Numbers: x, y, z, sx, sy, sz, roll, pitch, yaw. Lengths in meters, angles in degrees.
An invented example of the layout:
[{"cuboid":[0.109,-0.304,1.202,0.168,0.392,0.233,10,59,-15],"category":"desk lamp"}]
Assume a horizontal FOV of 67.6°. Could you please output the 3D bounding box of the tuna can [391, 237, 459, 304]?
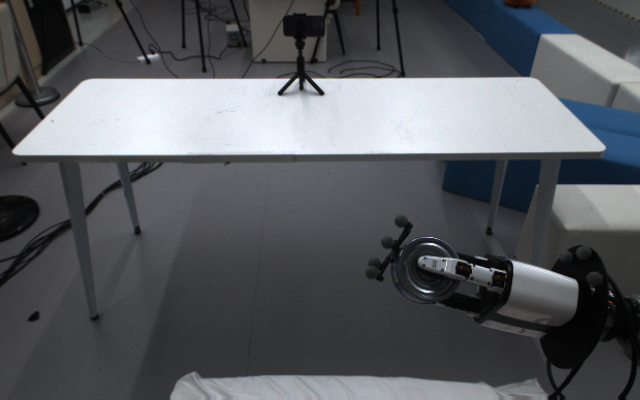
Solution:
[{"cuboid":[0.141,0.088,0.626,0.085,0.034,0.085,1,75,-5],"category":"tuna can"}]
